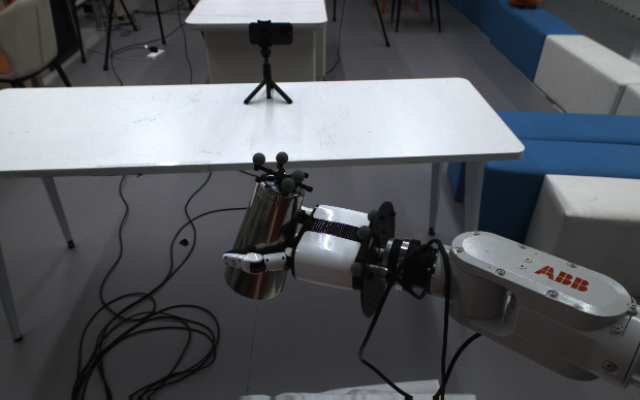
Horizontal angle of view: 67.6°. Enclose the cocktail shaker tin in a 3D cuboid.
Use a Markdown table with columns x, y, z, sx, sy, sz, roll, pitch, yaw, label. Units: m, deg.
| x | y | z | sx | sy | sz | roll | pitch | yaw | label |
| --- | --- | --- | --- | --- | --- | --- | --- | --- | --- |
| -0.075 | 0.048 | 0.695 | 0.093 | 0.170 | 0.093 | 14 | 27 | -7 | cocktail shaker tin |
